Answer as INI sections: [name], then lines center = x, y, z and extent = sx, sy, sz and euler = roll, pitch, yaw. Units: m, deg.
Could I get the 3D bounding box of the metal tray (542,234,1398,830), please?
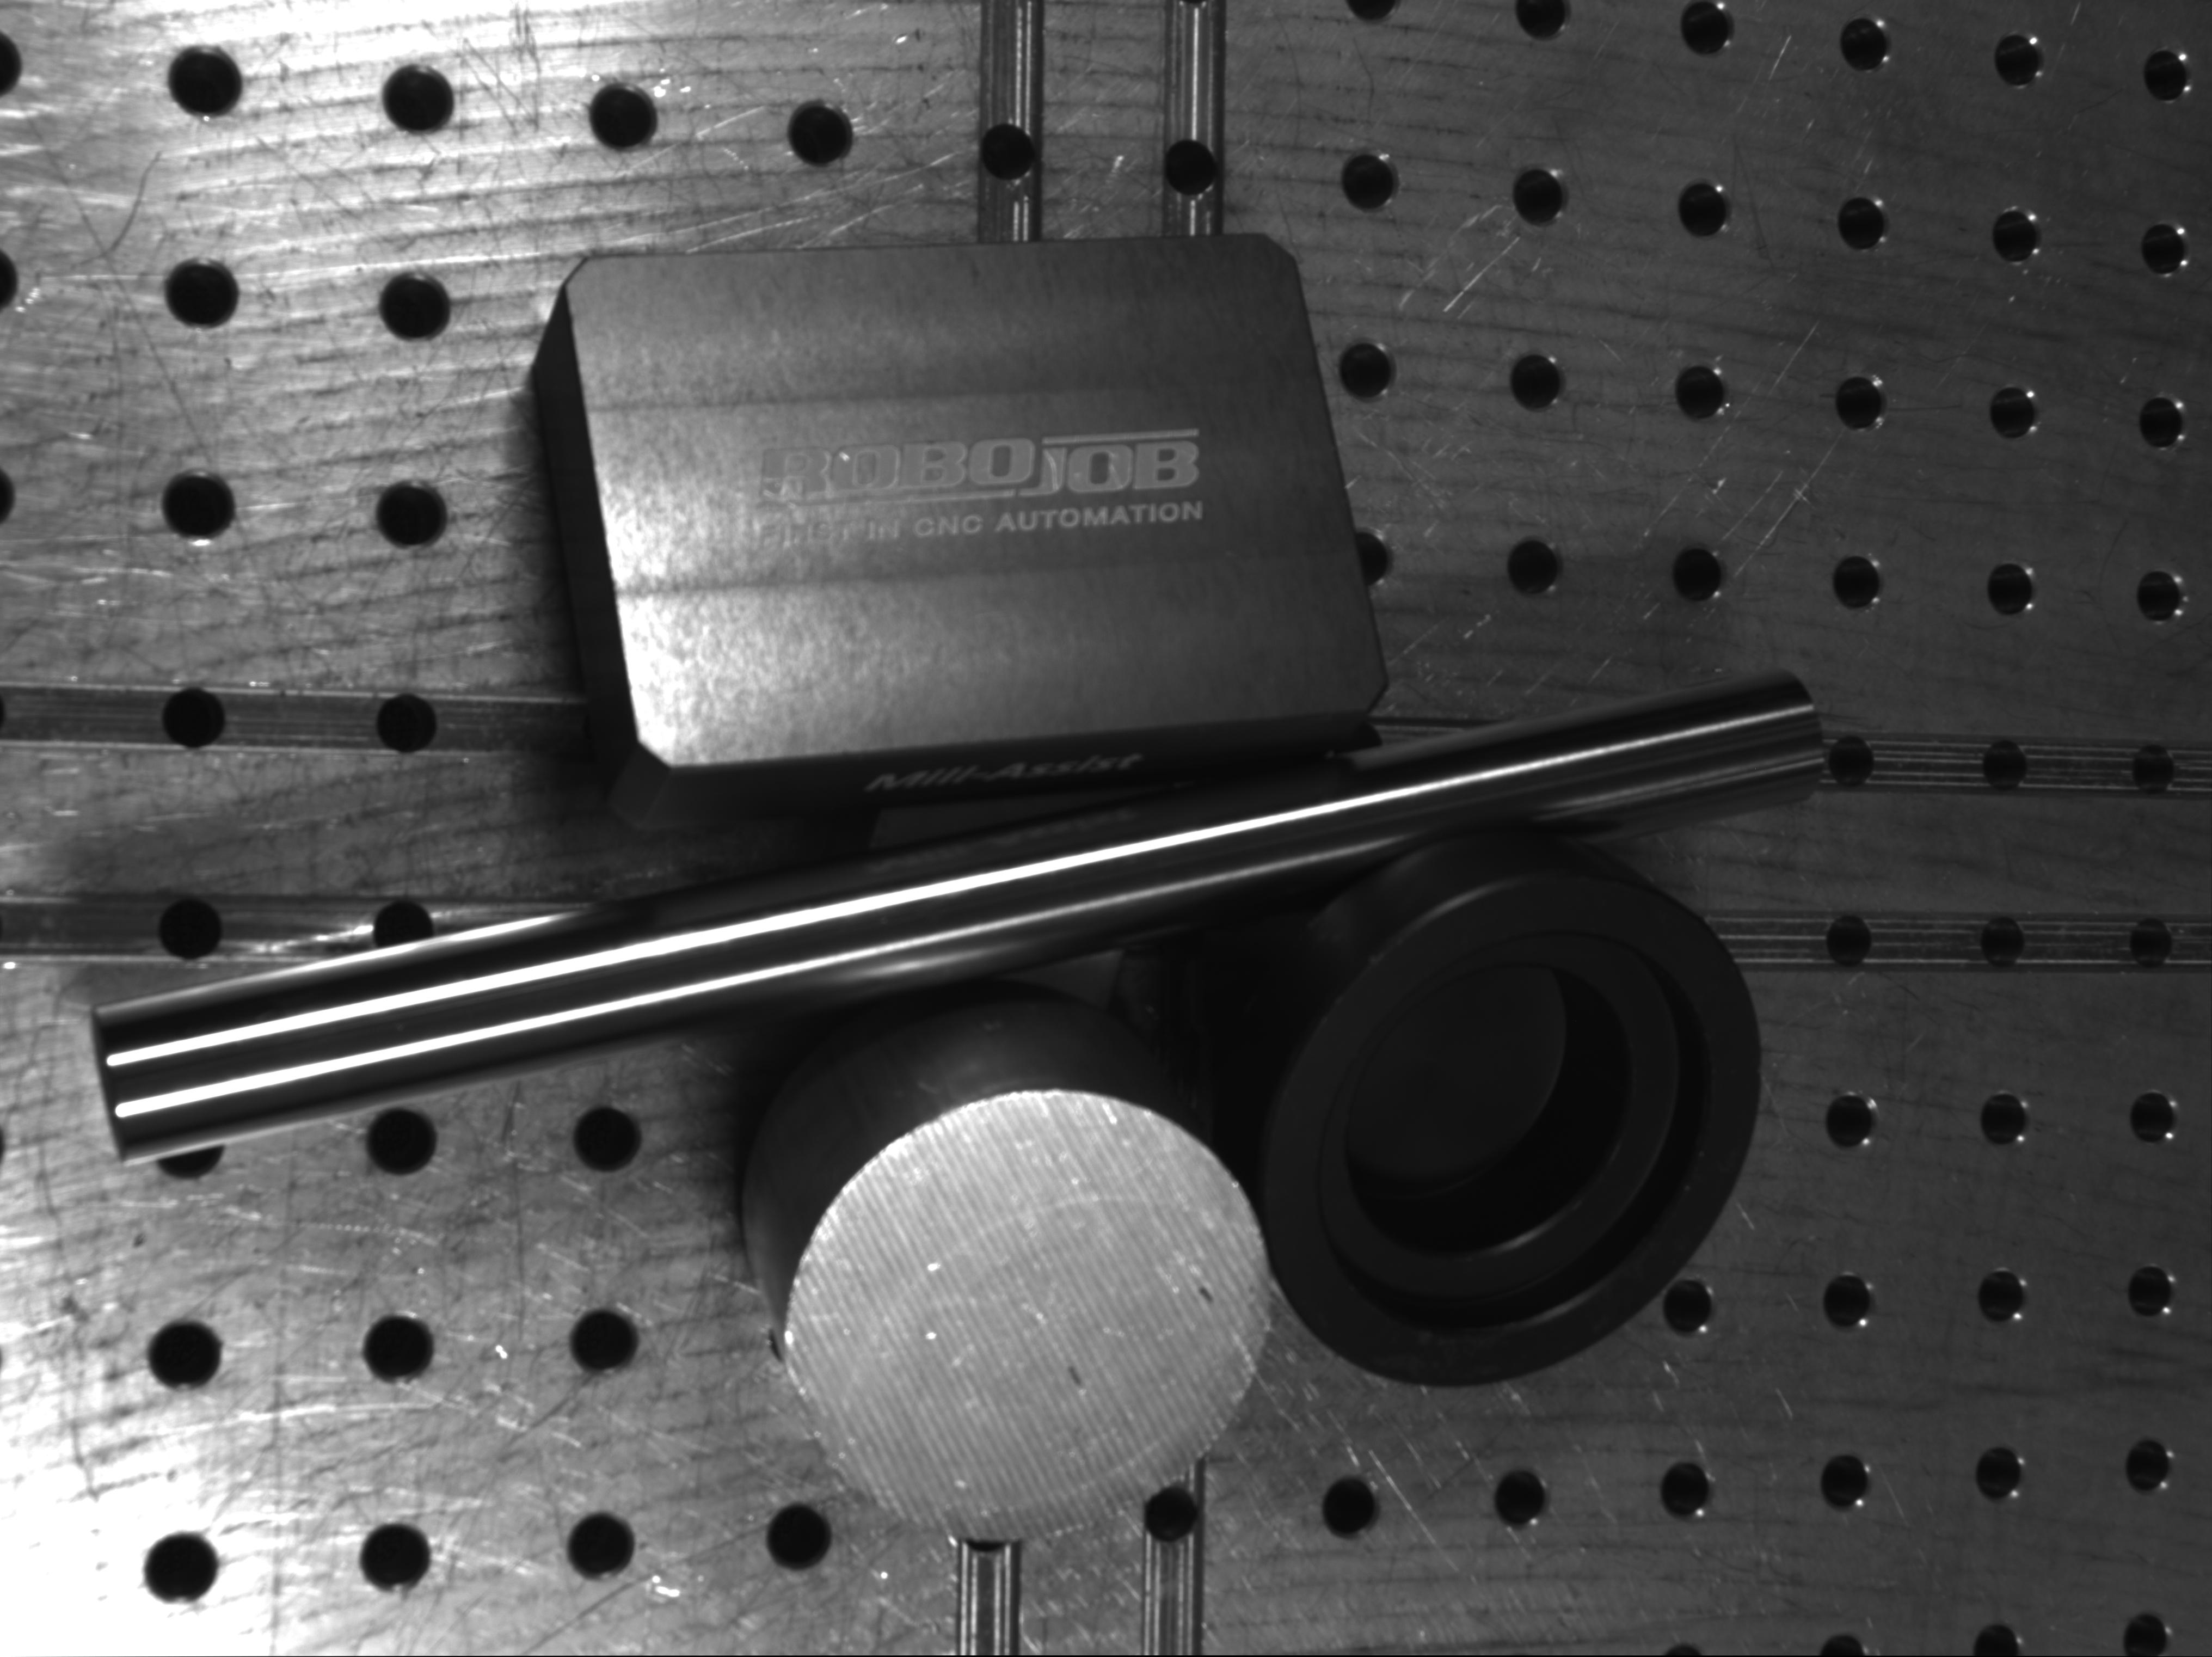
[metal tray]
center = -0.023, -0.052, 0.620
extent = 0.130, 0.030, 0.090
euler = -5, 73, -20

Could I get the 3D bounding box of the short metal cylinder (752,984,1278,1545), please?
[short metal cylinder]
center = -0.016, 0.072, 0.614
extent = 0.080, 0.050, 0.080
euler = -4, 109, -13

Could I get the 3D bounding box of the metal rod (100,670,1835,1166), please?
[metal rod]
center = -0.013, 0.012, 0.614
extent = 0.301, 0.025, 0.025
euler = -11, 94, -20

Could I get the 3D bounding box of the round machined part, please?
[round machined part]
center = 0.065, 0.046, 0.648
extent = 0.098, 0.042, 0.098
euler = -9, 115, -20

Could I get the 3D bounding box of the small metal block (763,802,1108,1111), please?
[small metal block]
center = -0.027, 0.020, 0.645
extent = 0.050, 0.025, 0.050
euler = 19, 84, -19
